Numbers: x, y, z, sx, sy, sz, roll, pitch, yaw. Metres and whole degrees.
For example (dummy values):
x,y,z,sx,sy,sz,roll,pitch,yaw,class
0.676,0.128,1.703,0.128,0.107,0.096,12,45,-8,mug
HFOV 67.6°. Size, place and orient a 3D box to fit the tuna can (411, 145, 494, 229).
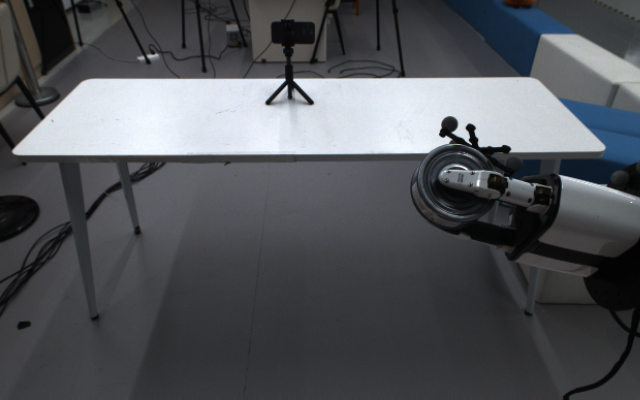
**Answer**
x,y,z,sx,sy,sz,roll,pitch,yaw,class
0.145,-0.009,0.507,0.085,0.034,0.085,0,74,-1,tuna can
